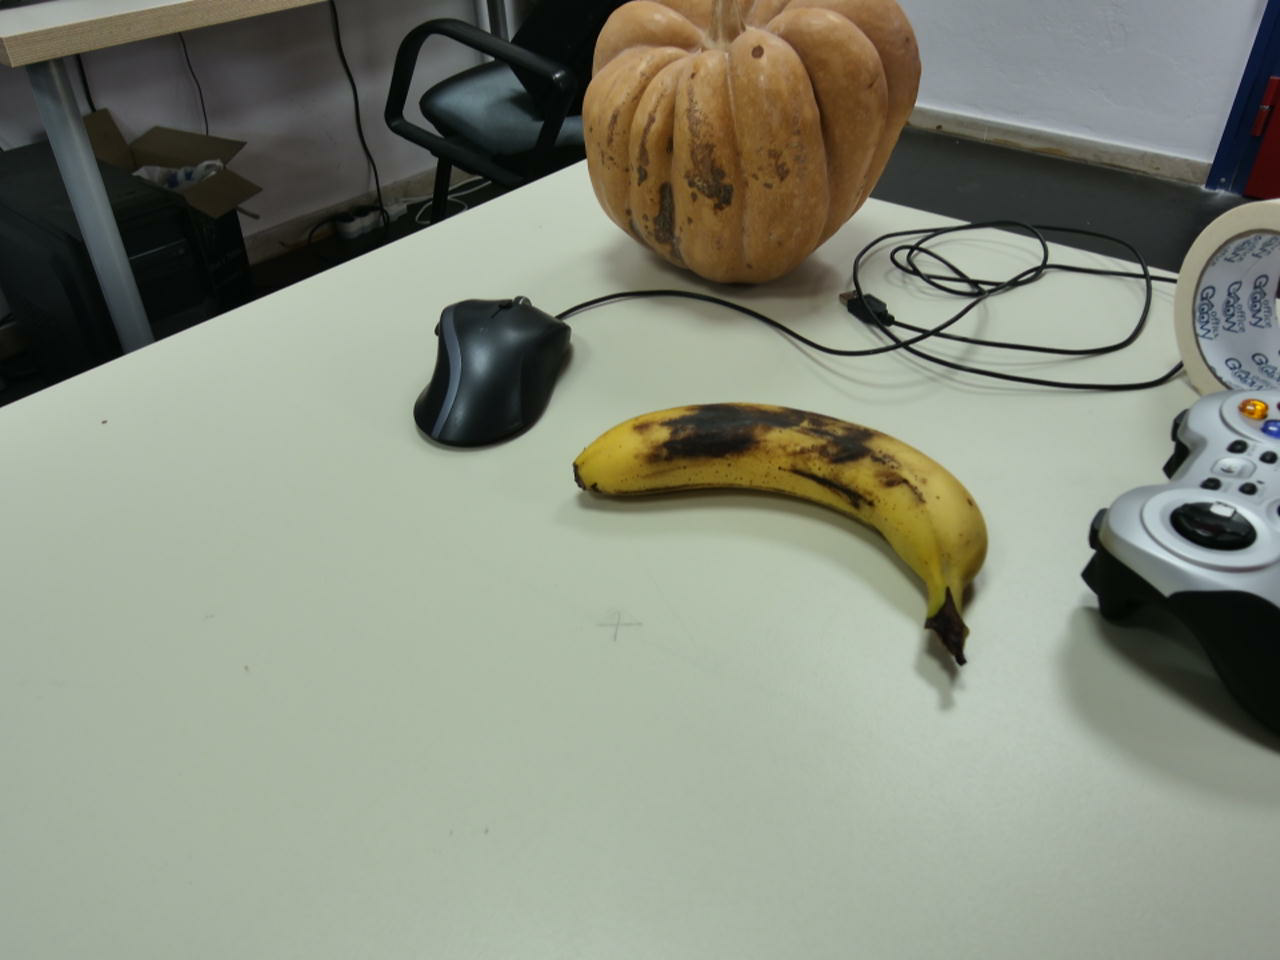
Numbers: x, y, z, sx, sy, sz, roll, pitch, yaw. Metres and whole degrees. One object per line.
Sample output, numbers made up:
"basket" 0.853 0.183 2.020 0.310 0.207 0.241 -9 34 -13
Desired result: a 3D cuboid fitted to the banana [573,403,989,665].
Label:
"banana" 0.068 0.004 0.426 0.187 0.039 0.094 25 43 31
